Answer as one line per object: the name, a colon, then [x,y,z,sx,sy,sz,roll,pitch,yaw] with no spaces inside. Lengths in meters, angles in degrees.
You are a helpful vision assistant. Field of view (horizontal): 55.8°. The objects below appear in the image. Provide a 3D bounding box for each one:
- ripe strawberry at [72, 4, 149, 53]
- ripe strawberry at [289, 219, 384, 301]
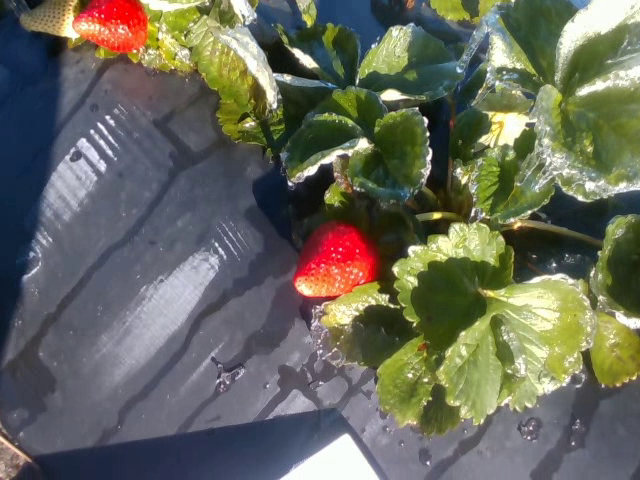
ripe strawberry: [-0.122,-0.126,0.333,0.037,0.040,0.051,39,25,16]
ripe strawberry: [0.004,0.013,0.273,0.052,0.042,0.047,-21,-28,-50]
